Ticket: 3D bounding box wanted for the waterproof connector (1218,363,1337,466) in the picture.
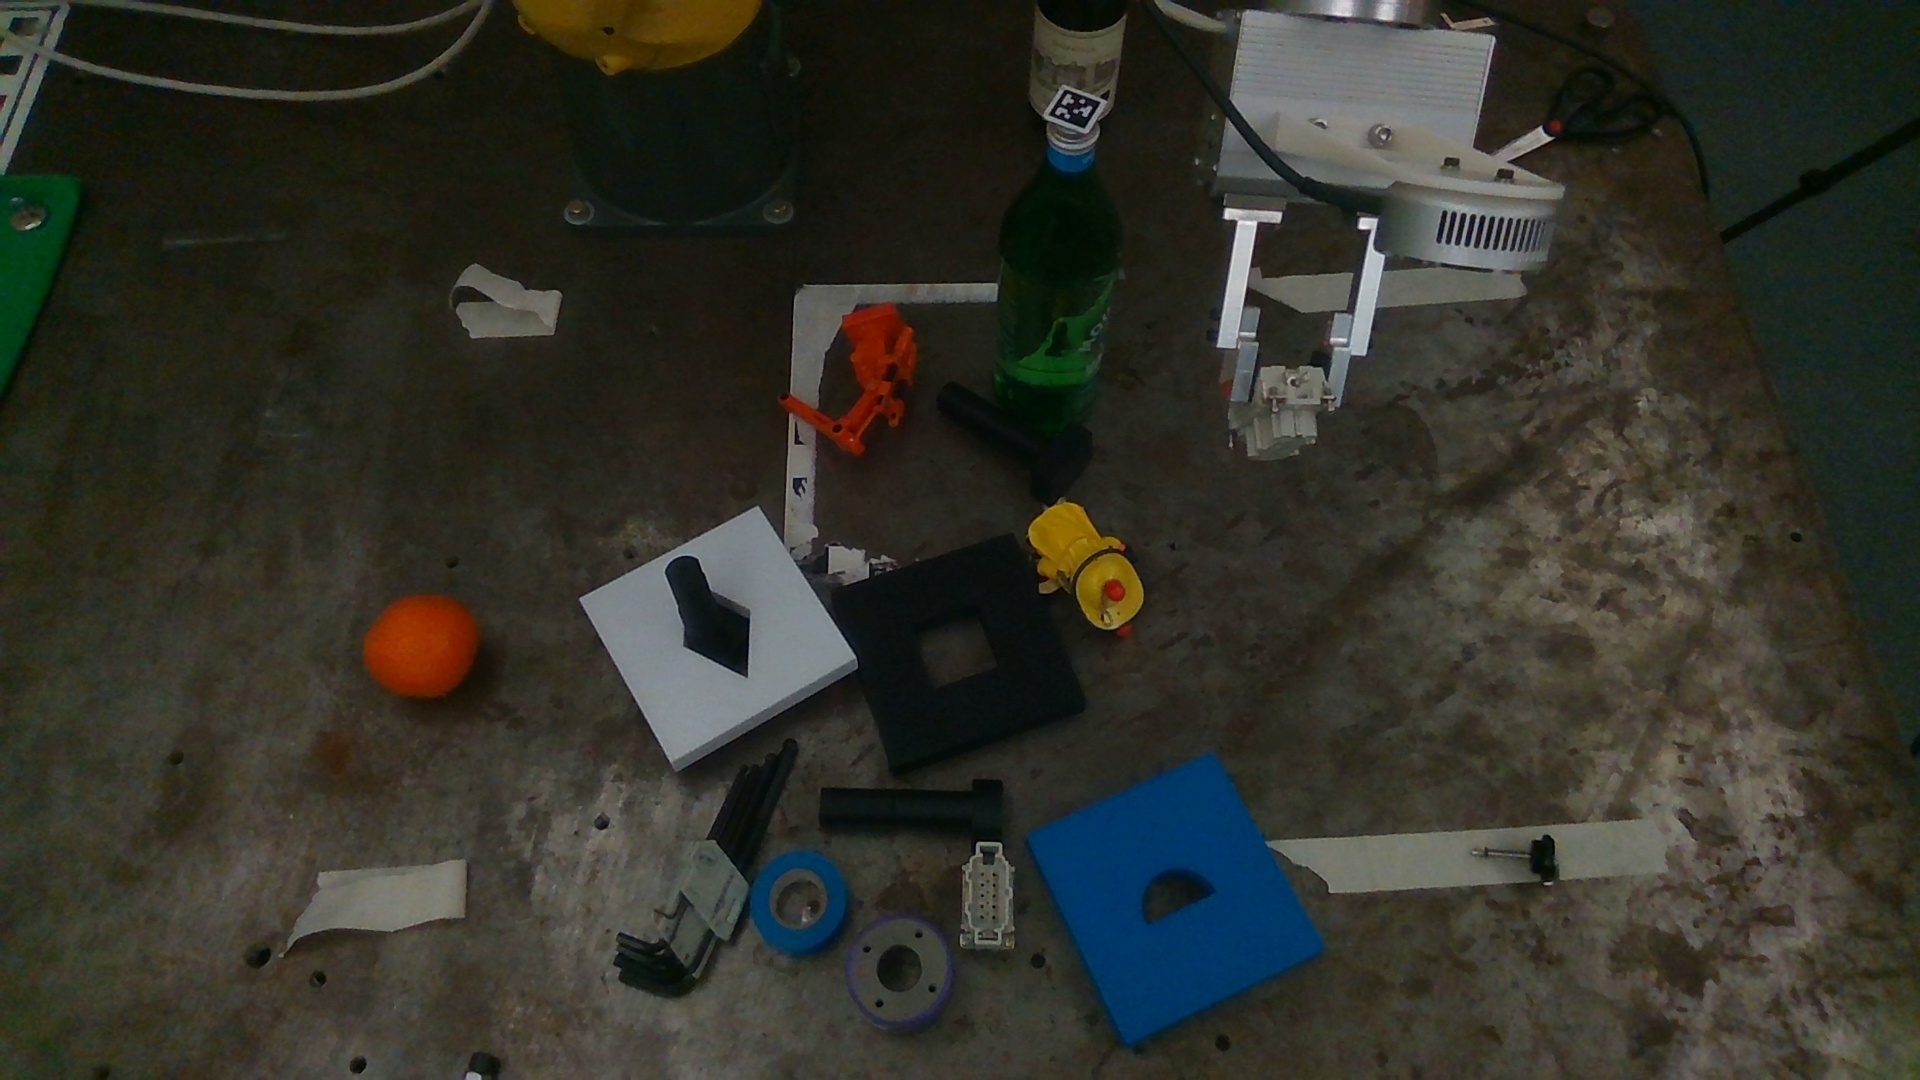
[{"bbox_3d":[0.153,-0.061,0.677,0.036,0.069,0.038,0,78,-11],"label":"waterproof connector"}]
